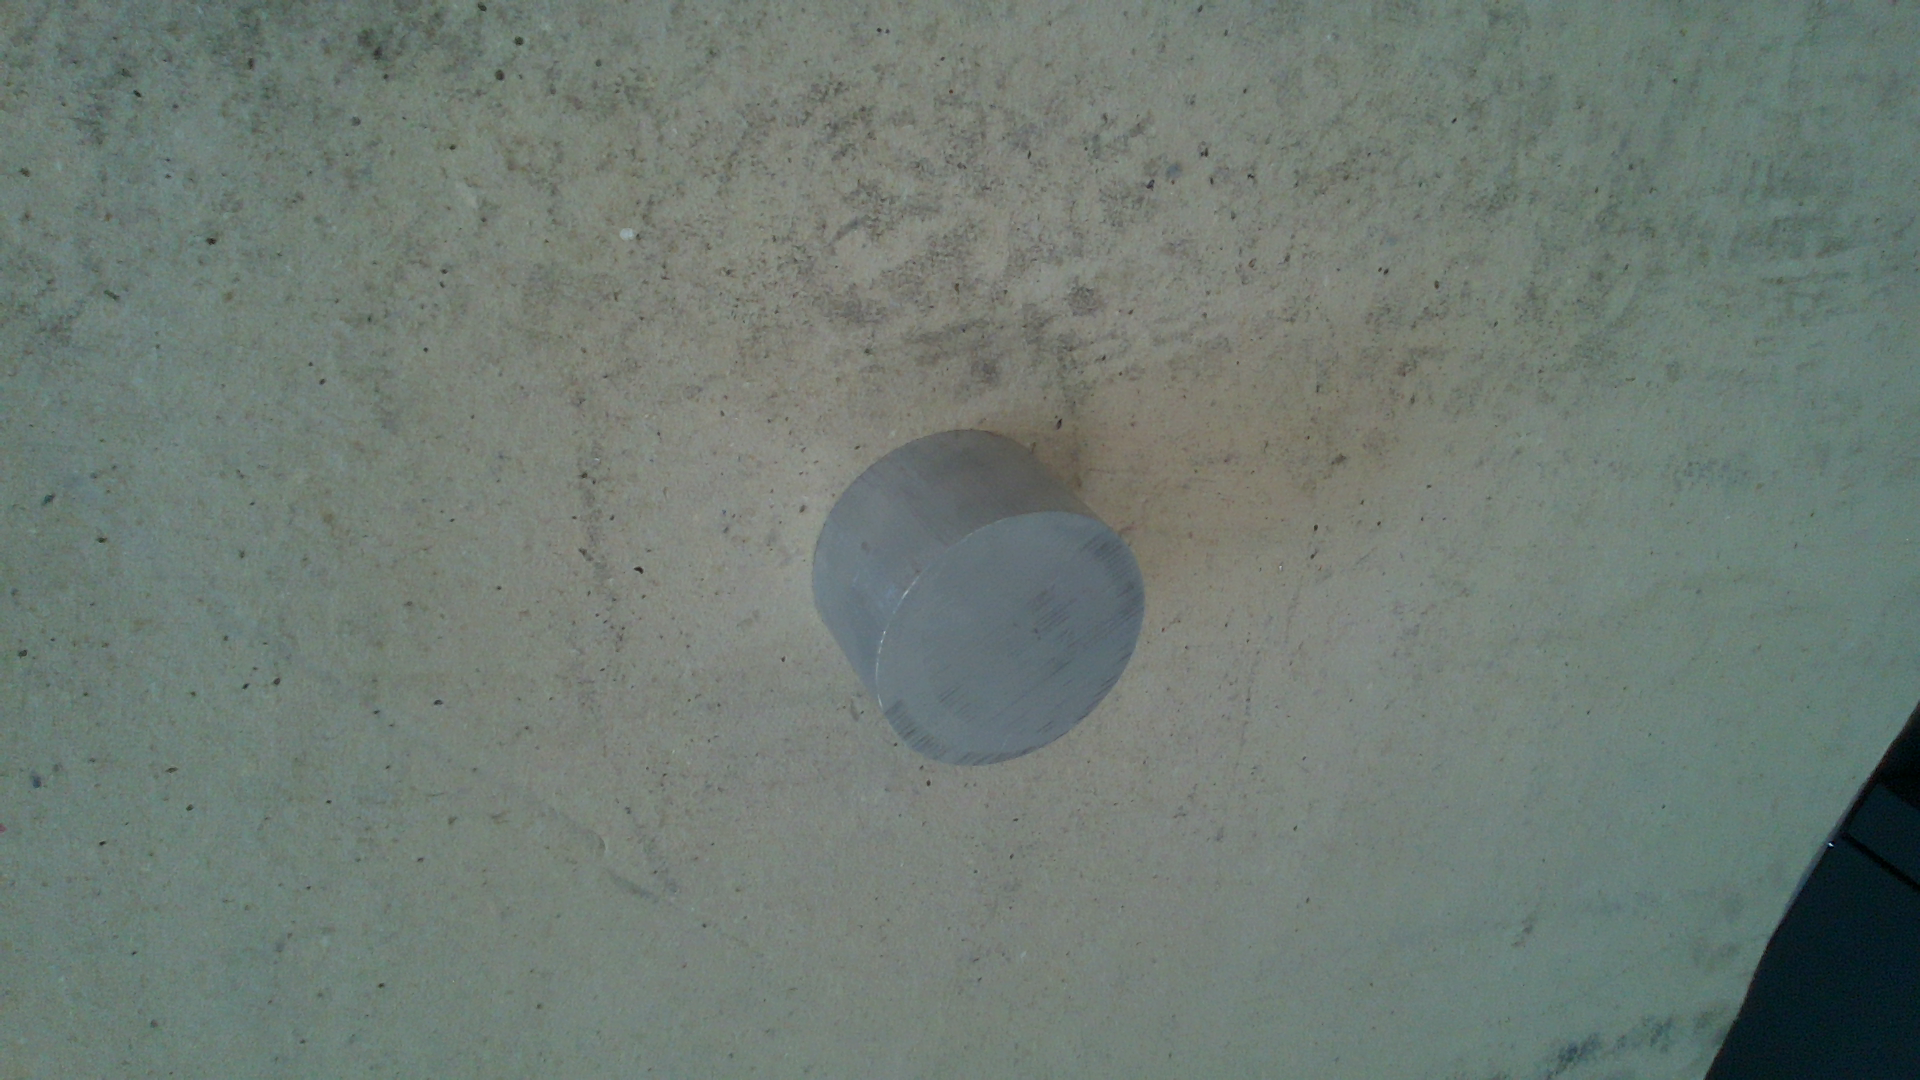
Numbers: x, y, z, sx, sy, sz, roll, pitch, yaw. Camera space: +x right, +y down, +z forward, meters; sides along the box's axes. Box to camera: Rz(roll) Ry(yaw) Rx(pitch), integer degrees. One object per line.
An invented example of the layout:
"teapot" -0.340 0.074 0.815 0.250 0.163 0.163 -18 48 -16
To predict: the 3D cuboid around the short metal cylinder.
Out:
"short metal cylinder" 0.004 0.016 0.385 0.080 0.050 0.080 -14 125 -22
